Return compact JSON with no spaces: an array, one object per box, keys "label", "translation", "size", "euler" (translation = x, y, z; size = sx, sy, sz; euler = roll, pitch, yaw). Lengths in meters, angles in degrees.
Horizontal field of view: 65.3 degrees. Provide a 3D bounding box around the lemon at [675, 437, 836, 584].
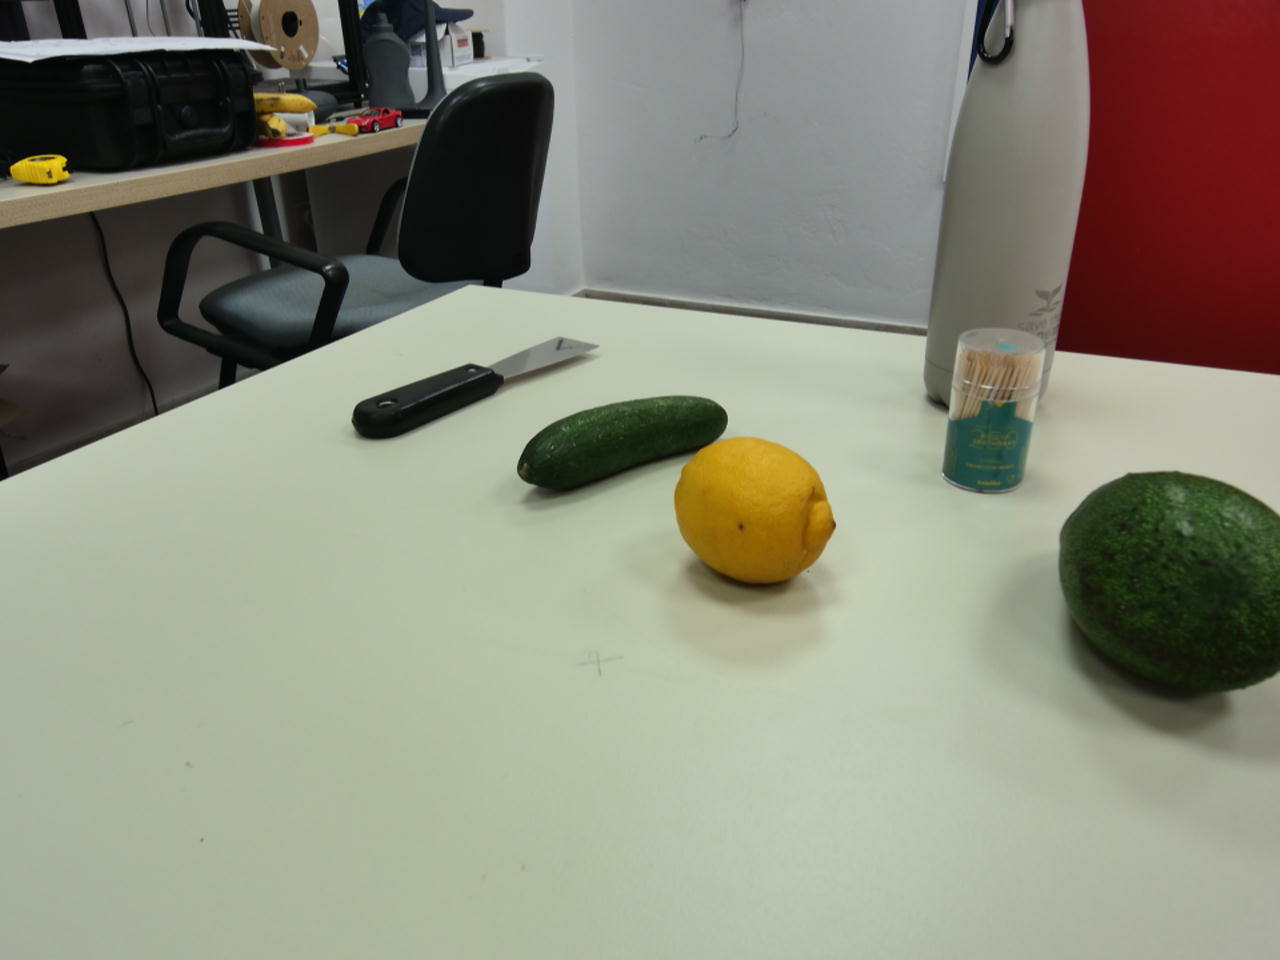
[{"label":"lemon","translation":[0.047,0.013,0.421],"size":[0.061,0.059,0.067],"euler":[-9,25,-20]}]
